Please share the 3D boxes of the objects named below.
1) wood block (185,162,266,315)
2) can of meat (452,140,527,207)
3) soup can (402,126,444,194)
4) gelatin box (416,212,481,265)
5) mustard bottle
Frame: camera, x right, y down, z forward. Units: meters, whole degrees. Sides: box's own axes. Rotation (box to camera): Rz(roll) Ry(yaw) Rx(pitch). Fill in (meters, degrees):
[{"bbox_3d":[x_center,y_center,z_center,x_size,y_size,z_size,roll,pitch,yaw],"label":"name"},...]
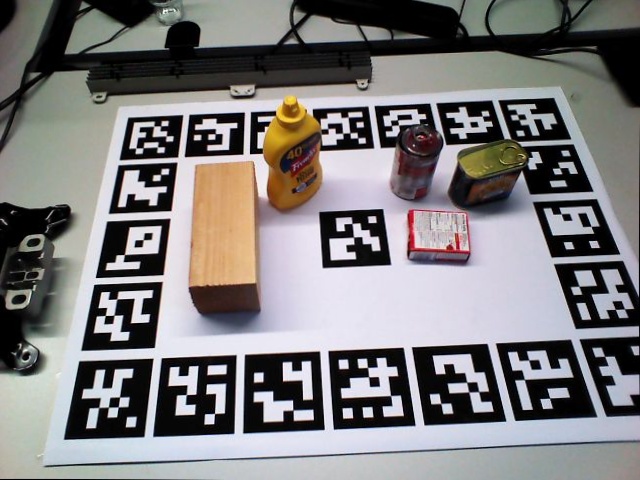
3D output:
[{"bbox_3d":[-0.128,-0.006,0.736,0.091,0.090,0.205,-2,54,-1],"label":"wood block"},{"bbox_3d":[0.259,-0.100,0.785,0.102,0.084,0.057,-14,59,-9],"label":"can of meat"},{"bbox_3d":[0.160,-0.124,0.781,0.068,0.102,0.067,-1,60,2],"label":"soup can"},{"bbox_3d":[0.187,-0.005,0.754,0.090,0.030,0.073,5,60,8],"label":"gelatin box"},{"bbox_3d":[-0.035,-0.125,0.752,0.096,0.192,0.058,-25,60,-15],"label":"mustard bottle"}]
